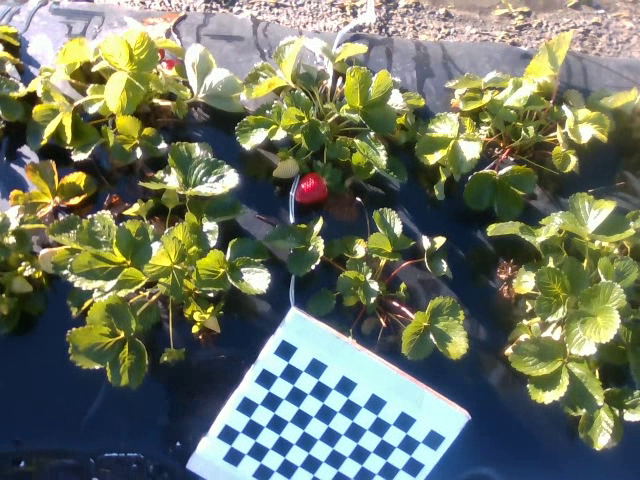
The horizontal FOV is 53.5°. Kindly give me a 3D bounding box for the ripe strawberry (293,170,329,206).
[{"bbox_3d":[-0.013,-0.085,1.021,0.080,0.063,0.040,-38,14,-36],"label":"ripe strawberry"}]
